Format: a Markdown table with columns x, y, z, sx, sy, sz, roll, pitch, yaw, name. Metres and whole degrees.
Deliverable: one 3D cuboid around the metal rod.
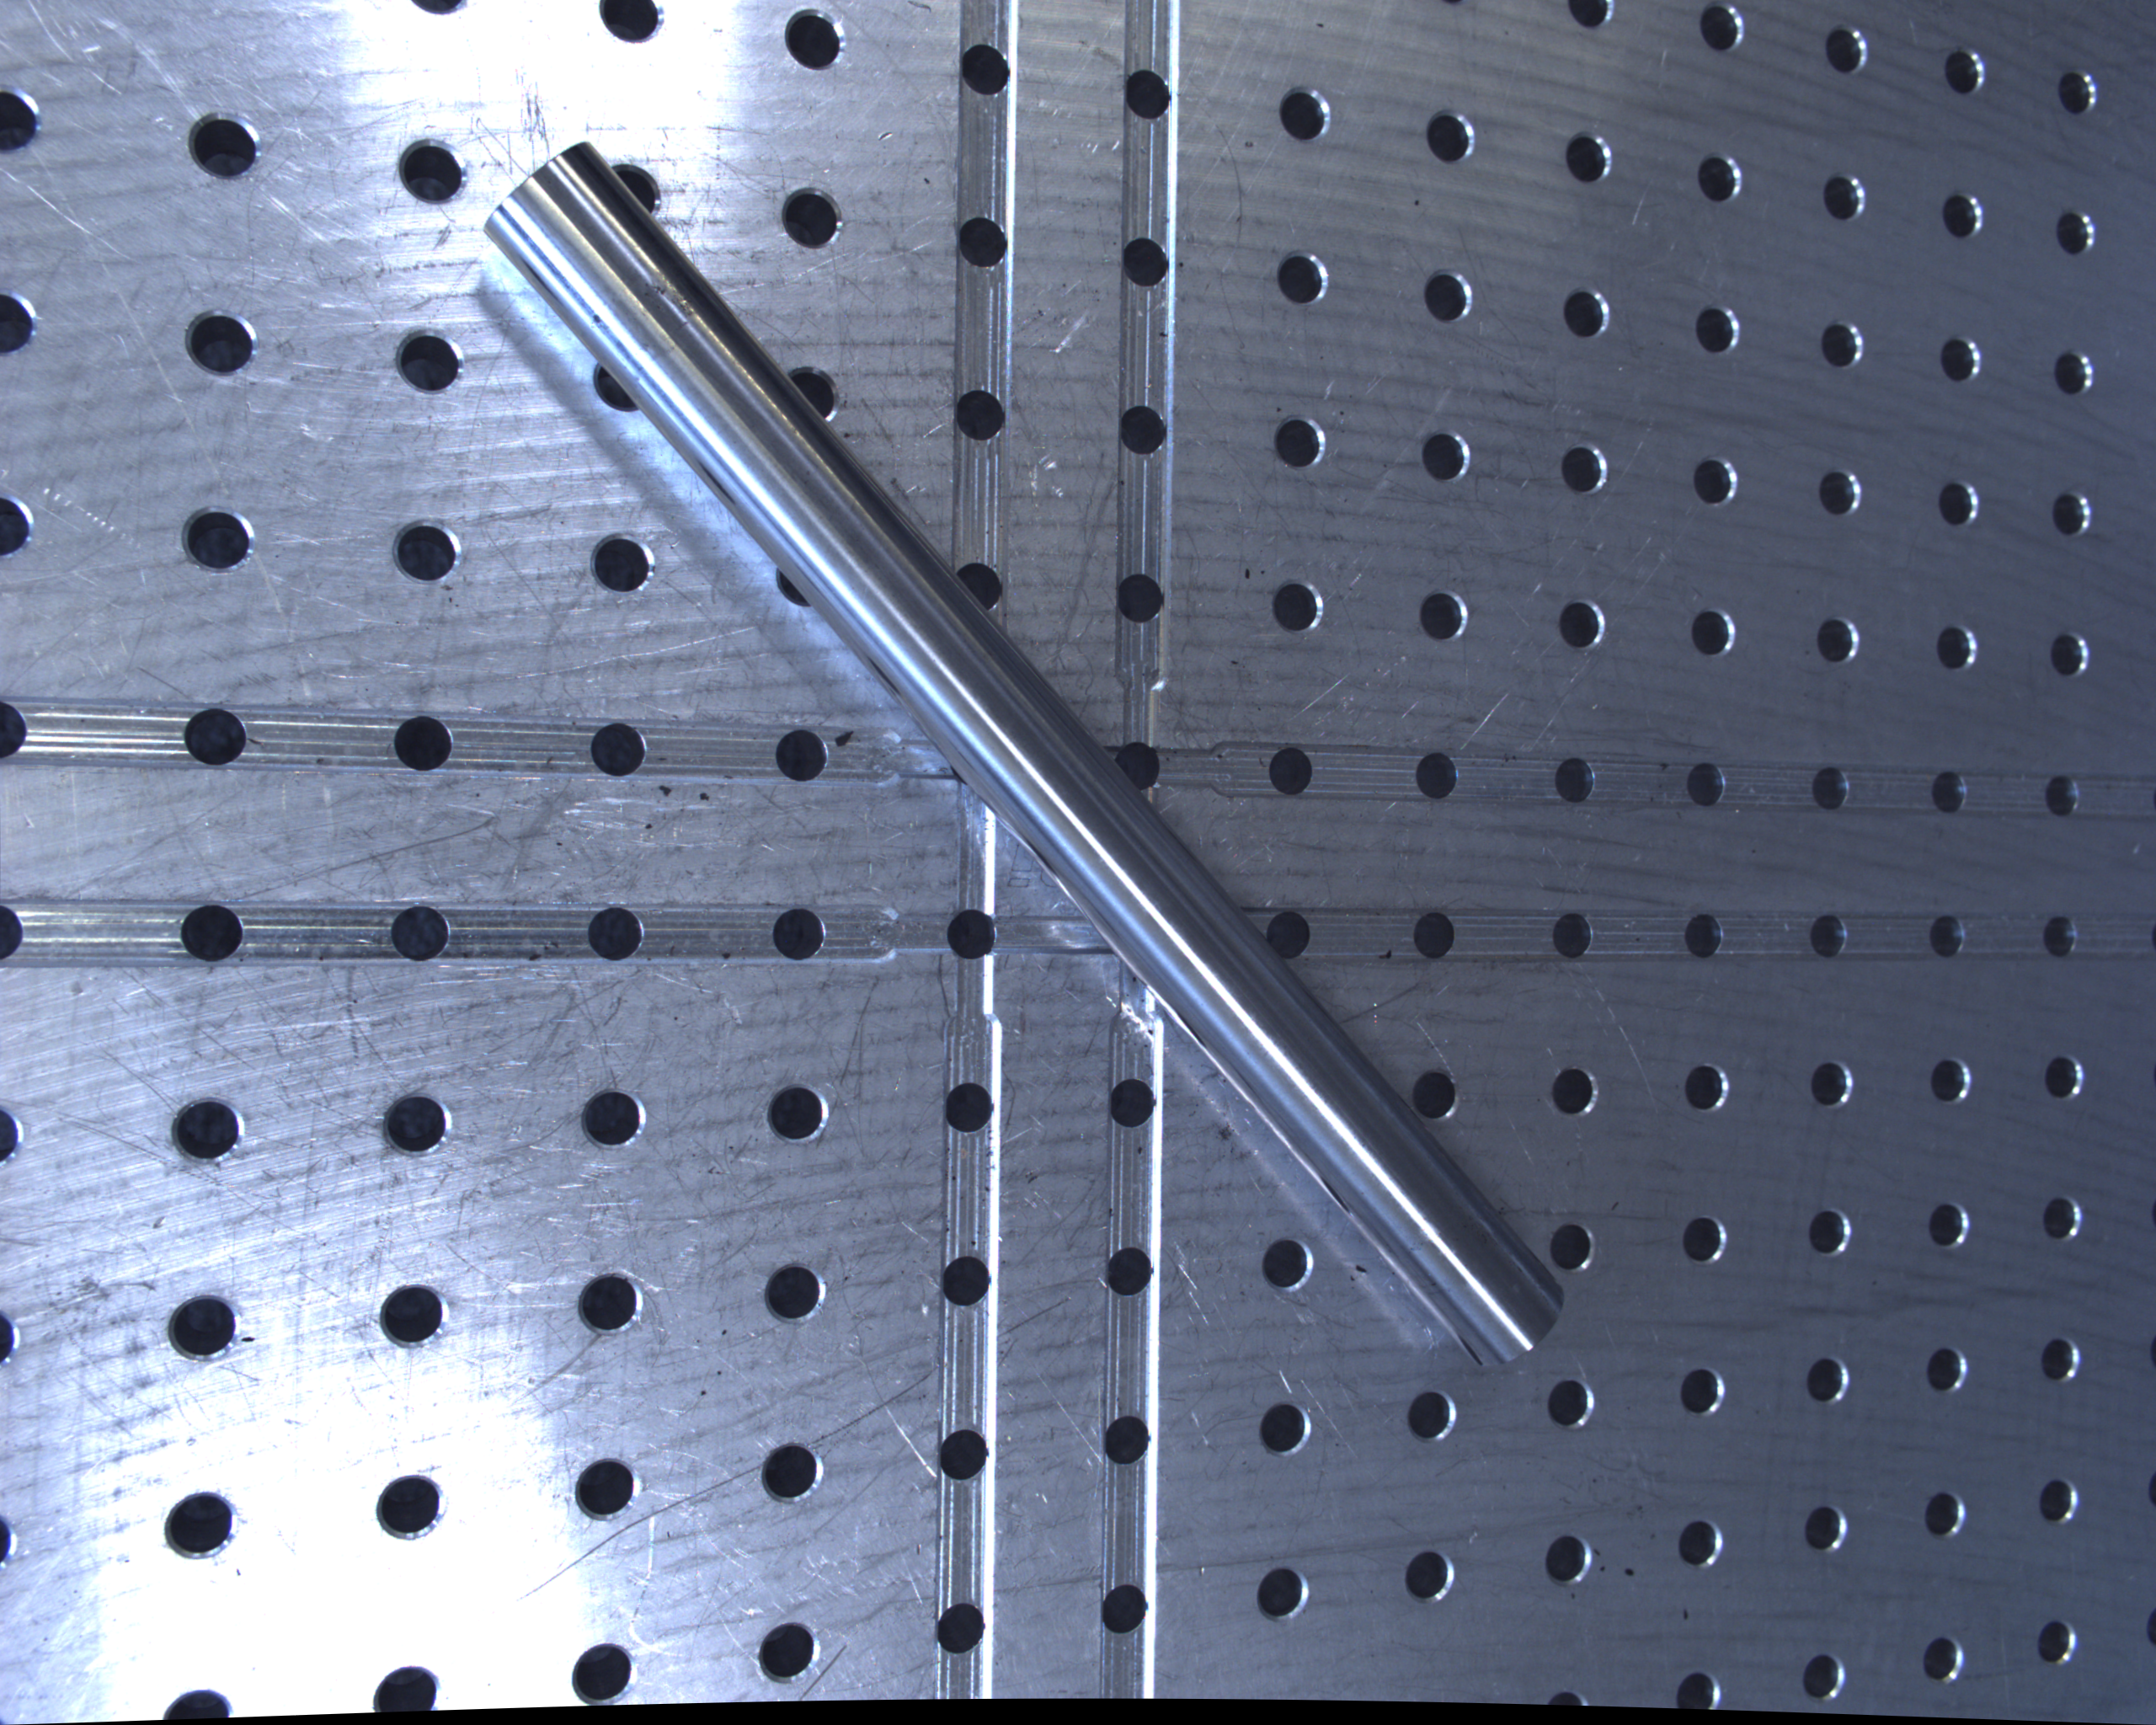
| x | y | z | sx | sy | sz | roll | pitch | yaw | name |
| --- | --- | --- | --- | --- | --- | --- | --- | --- | --- |
| -0.003 | -0.012 | 0.412 | 0.025 | 0.025 | 0.300 | -45 | 104 | -14 | metal rod |
